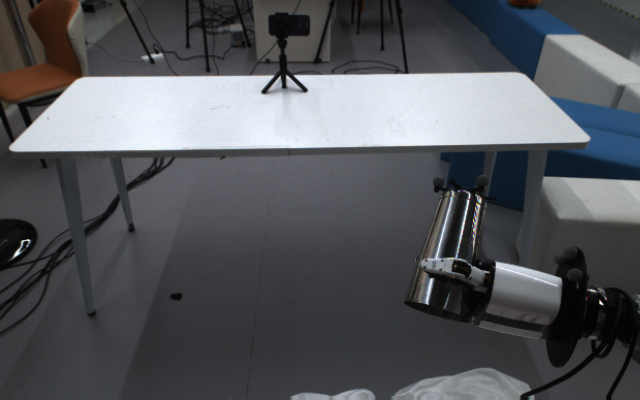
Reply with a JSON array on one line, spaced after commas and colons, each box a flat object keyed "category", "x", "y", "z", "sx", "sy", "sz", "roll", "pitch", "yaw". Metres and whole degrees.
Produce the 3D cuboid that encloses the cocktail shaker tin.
[{"category": "cocktail shaker tin", "x": 0.187, "y": 0.077, "z": 0.686, "sx": 0.093, "sy": 0.093, "sz": 0.170, "roll": 13, "pitch": 74, "yaw": 15}]
